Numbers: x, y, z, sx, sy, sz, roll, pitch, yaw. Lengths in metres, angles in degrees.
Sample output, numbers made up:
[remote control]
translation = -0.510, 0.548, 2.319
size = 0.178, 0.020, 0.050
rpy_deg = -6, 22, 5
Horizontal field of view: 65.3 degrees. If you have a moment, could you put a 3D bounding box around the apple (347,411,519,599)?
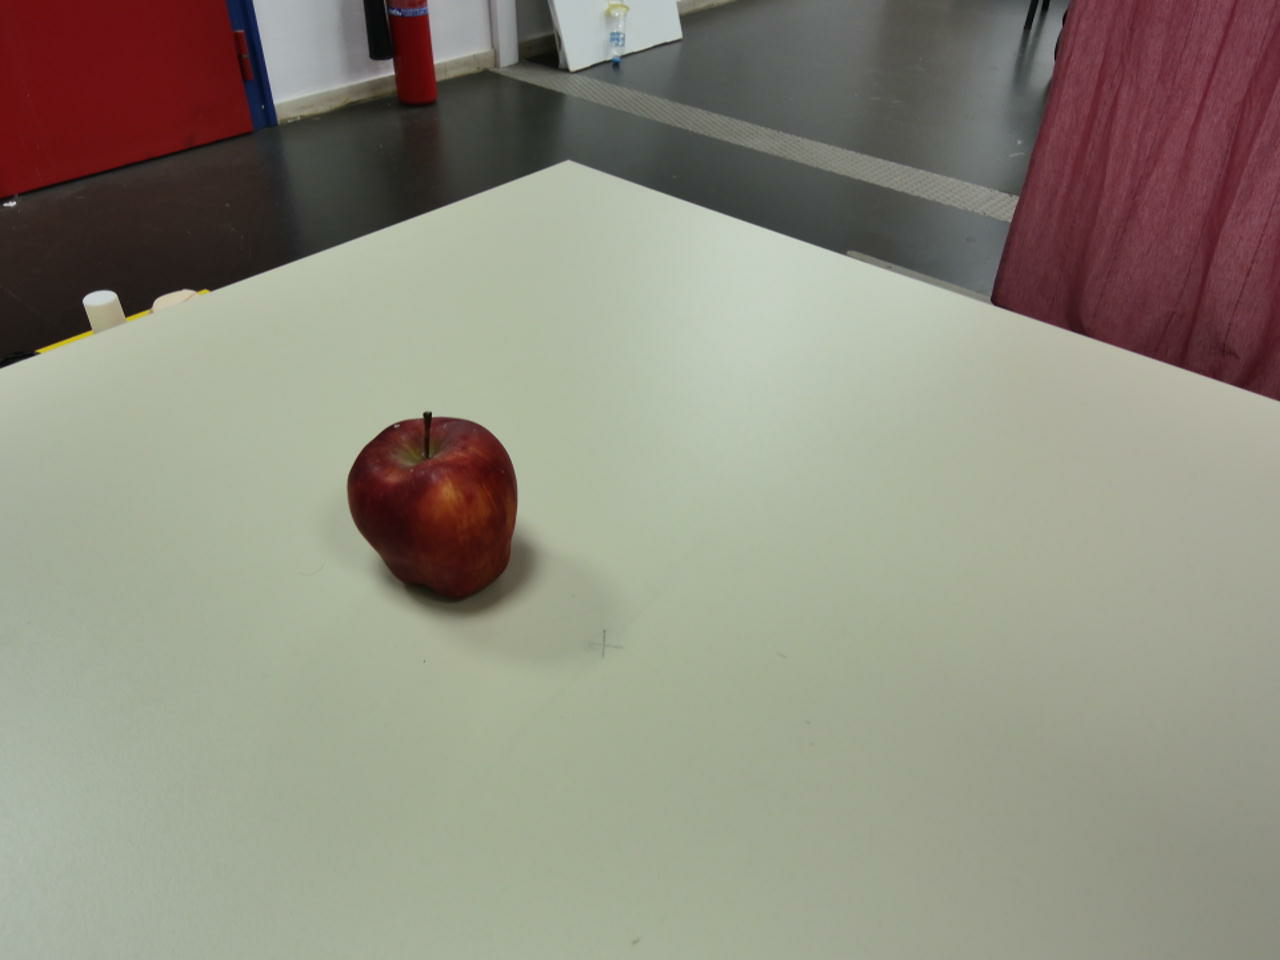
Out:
[apple]
translation = -0.098, 0.008, 0.477
size = 0.083, 0.090, 0.083
rpy_deg = 1, 37, -1
